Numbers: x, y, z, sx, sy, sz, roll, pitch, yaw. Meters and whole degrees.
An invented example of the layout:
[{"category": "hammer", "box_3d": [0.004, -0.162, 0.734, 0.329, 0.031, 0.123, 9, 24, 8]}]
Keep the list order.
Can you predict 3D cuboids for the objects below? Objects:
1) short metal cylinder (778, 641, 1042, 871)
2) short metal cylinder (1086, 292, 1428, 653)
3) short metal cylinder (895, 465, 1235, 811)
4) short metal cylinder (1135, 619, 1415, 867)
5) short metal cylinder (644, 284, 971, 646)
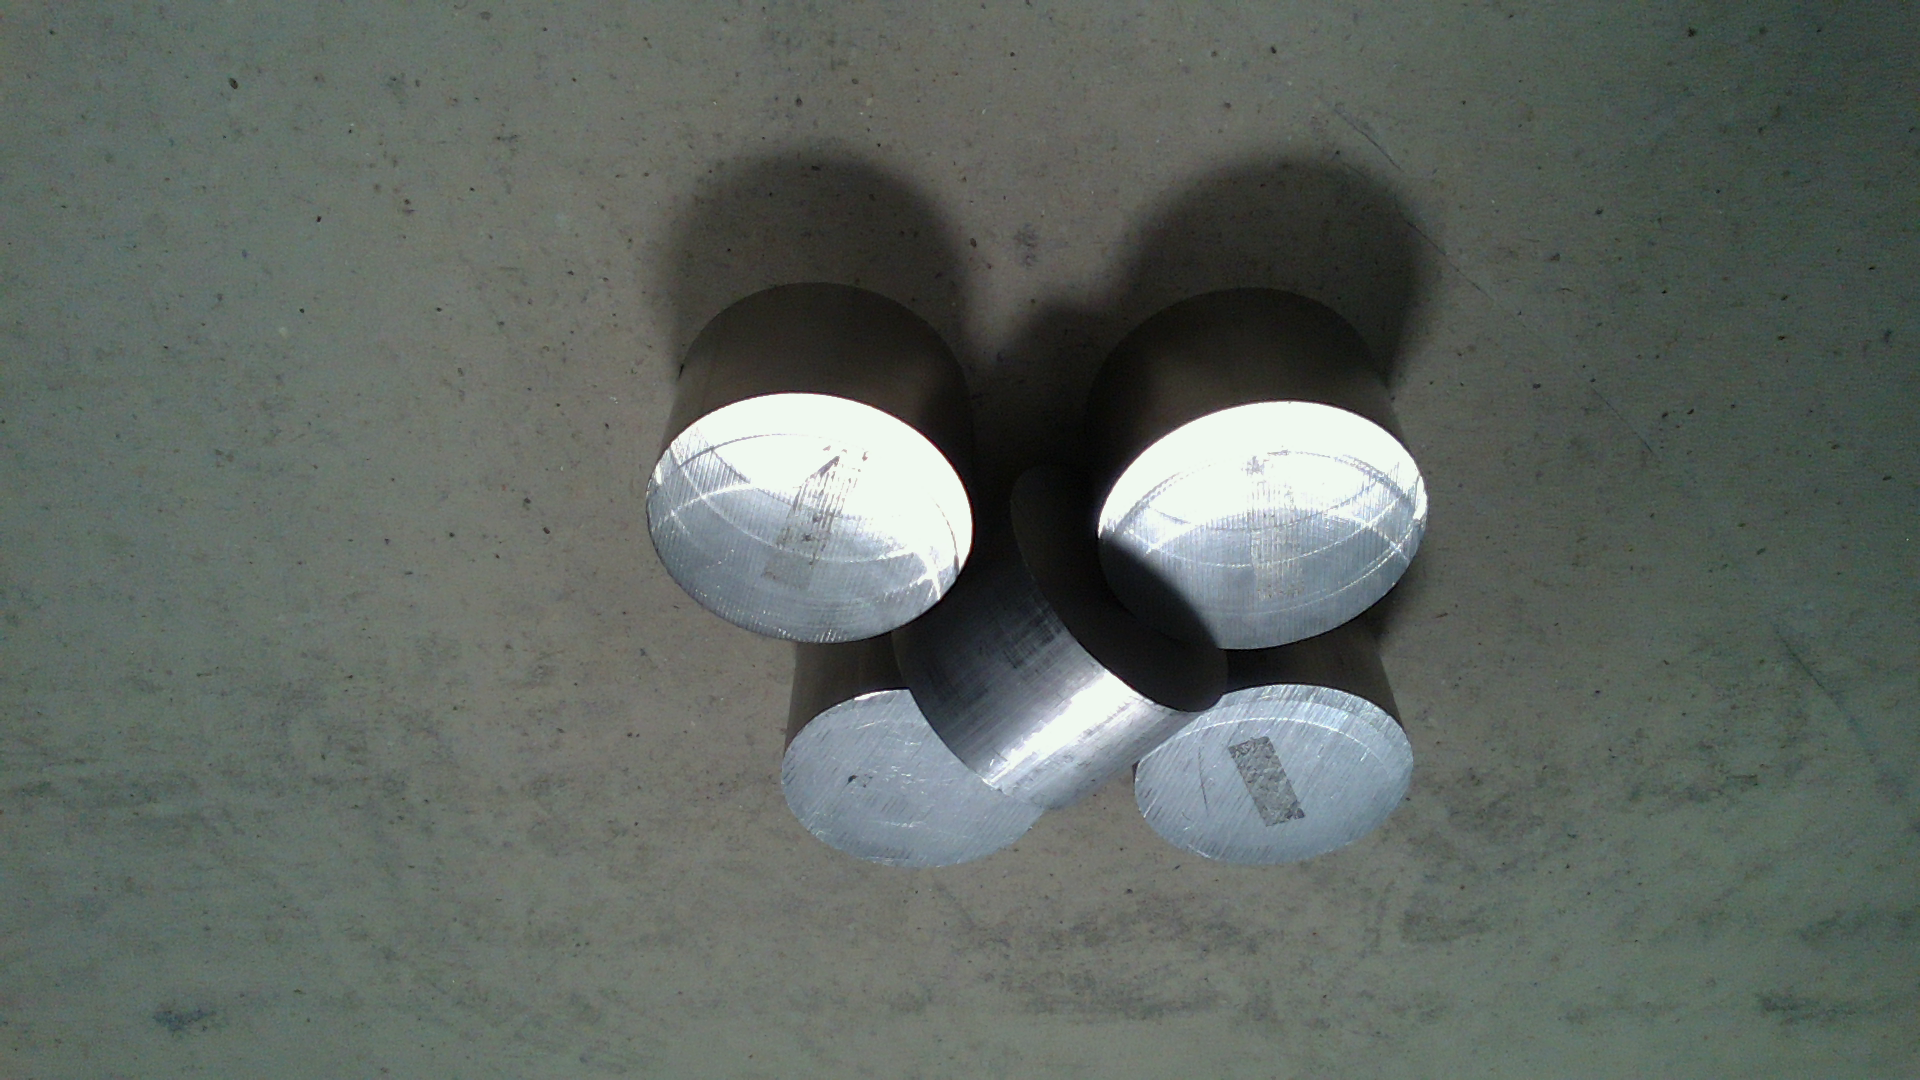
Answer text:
[{"category": "short metal cylinder", "box_3d": [-0.013, 0.056, 0.420, 0.080, 0.050, 0.080, 0, 130, 0]}, {"category": "short metal cylinder", "box_3d": [0.075, -0.017, 0.358, 0.080, 0.050, 0.080, 0, 130, 0]}, {"category": "short metal cylinder", "box_3d": [0.029, 0.026, 0.378, 0.080, 0.080, 0.050, 32, 123, -24]}, {"category": "short metal cylinder", "box_3d": [0.092, 0.055, 0.420, 0.080, 0.050, 0.080, 0, 130, 0]}, {"category": "short metal cylinder", "box_3d": [-0.037, -0.019, 0.357, 0.080, 0.050, 0.080, 0, 130, 0]}]
